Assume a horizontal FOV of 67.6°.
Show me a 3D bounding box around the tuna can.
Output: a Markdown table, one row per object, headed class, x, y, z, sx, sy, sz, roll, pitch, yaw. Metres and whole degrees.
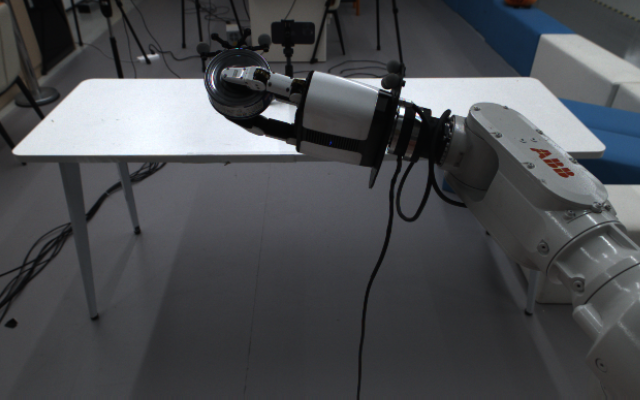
| class | x | y | z | sx | sy | sz | roll | pitch | yaw |
| --- | --- | --- | --- | --- | --- | --- | --- | --- | --- |
| tuna can | -0.098 | -0.142 | 0.610 | 0.085 | 0.034 | 0.085 | 0 | 72 | -1 |
